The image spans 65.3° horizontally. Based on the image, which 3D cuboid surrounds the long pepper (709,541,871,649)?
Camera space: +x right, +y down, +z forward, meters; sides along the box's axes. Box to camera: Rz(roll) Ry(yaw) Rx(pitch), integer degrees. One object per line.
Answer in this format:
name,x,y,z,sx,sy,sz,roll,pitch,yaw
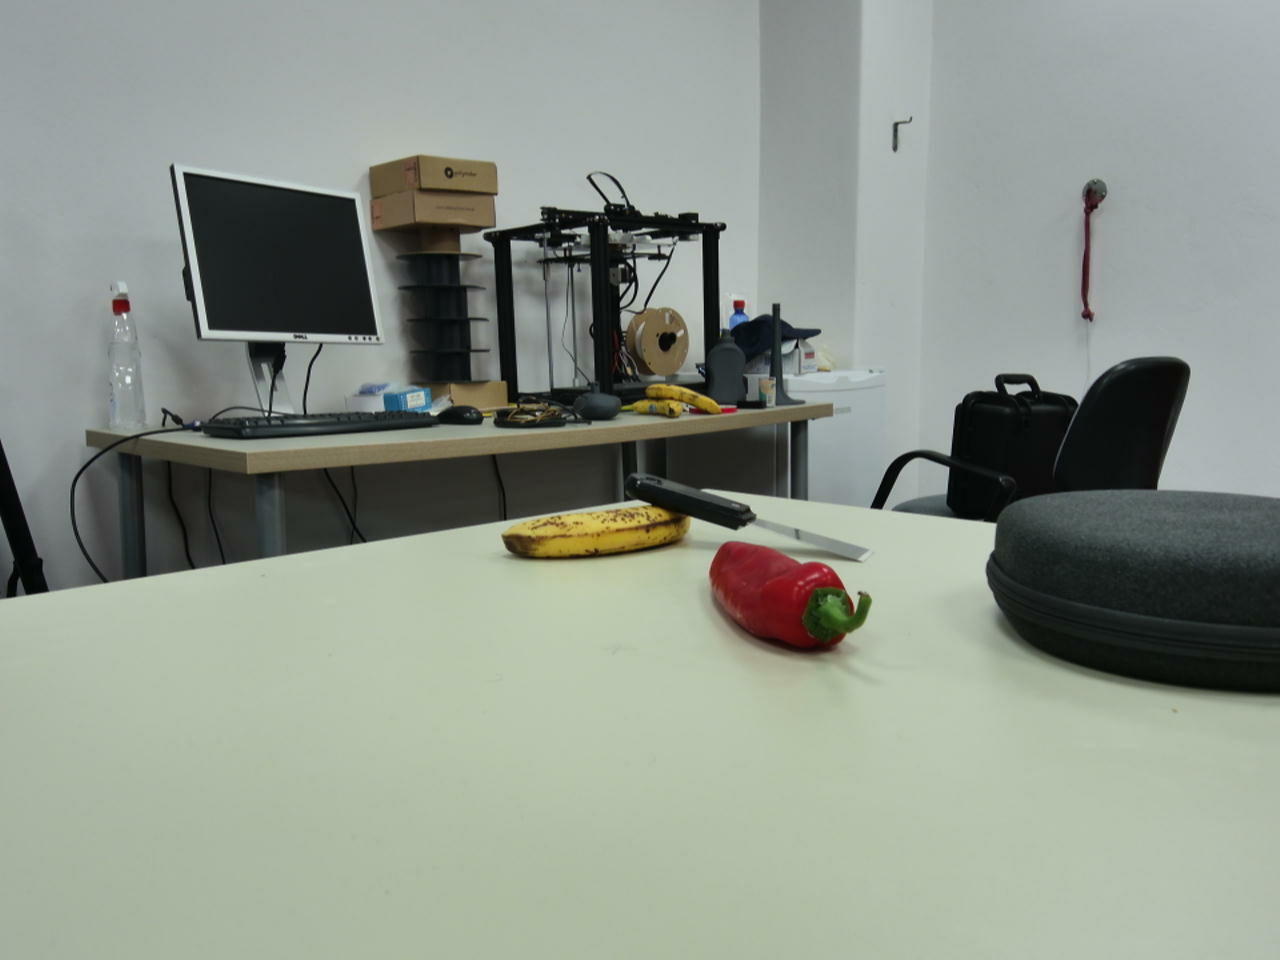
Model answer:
long pepper,0.071,0.058,0.550,0.050,0.043,0.211,0,6,-10
